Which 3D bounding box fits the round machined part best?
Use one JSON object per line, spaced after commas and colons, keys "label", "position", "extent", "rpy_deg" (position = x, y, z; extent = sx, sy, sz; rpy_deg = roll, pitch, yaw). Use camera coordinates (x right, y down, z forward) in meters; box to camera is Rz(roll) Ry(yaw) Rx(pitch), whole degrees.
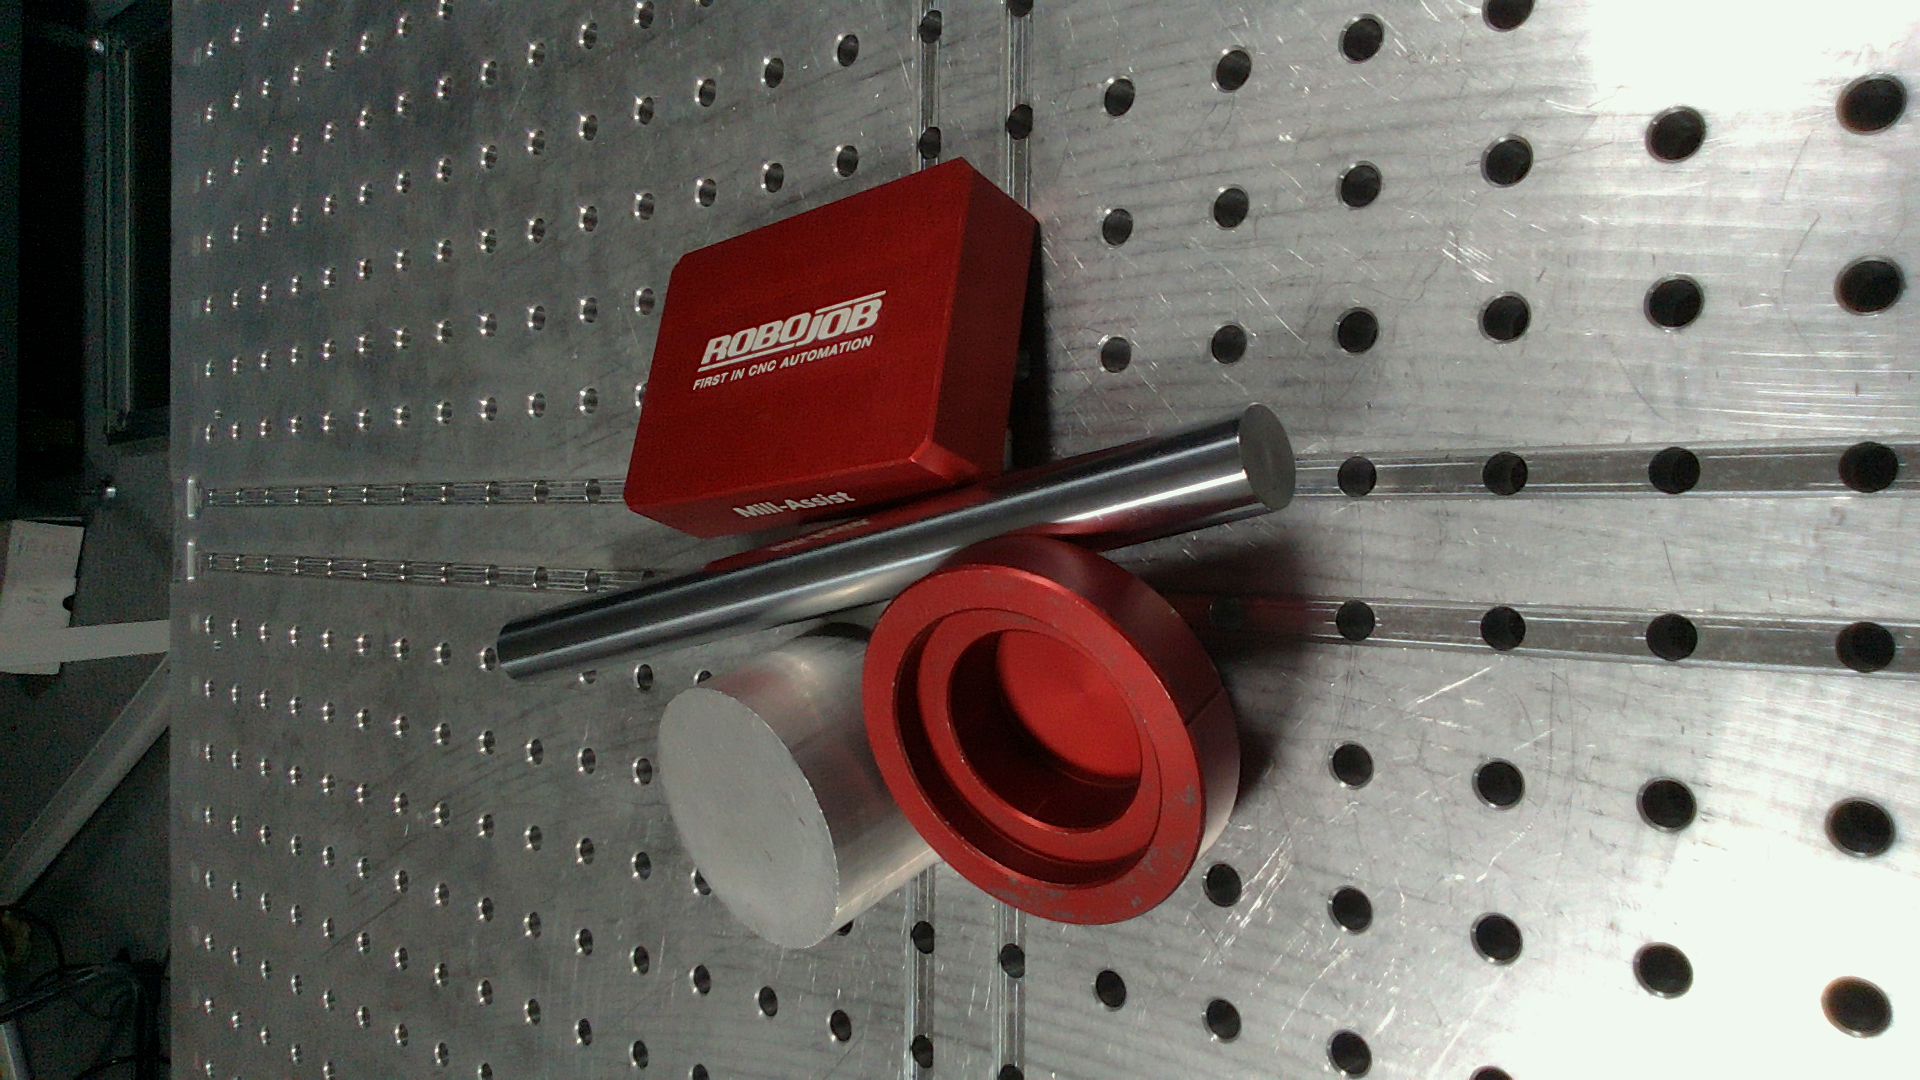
{"label": "round machined part", "position": [0.026, 0.044, 0.350], "extent": [0.098, 0.042, 0.098], "rpy_deg": [16, 121, 29]}

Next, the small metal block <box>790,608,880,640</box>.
{"label": "small metal block", "position": [-0.023, 0.018, 0.428], "extent": [0.050, 0.025, 0.050], "rpy_deg": [23, 105, 38]}

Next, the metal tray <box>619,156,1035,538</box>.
{"label": "metal tray", "position": [-0.043, -0.053, 0.412], "extent": [0.129, 0.030, 0.090], "rpy_deg": [-7, 67, 39]}

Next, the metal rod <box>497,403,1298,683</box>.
{"label": "metal rod", "position": [-0.043, 0.010, 0.400], "extent": [0.299, 0.025, 0.025], "rpy_deg": [-14, 81, 39]}

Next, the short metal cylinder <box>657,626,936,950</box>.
{"label": "short metal cylinder", "position": [-0.044, 0.071, 0.403], "extent": [0.080, 0.050, 0.080], "rpy_deg": [22, 123, 38]}
